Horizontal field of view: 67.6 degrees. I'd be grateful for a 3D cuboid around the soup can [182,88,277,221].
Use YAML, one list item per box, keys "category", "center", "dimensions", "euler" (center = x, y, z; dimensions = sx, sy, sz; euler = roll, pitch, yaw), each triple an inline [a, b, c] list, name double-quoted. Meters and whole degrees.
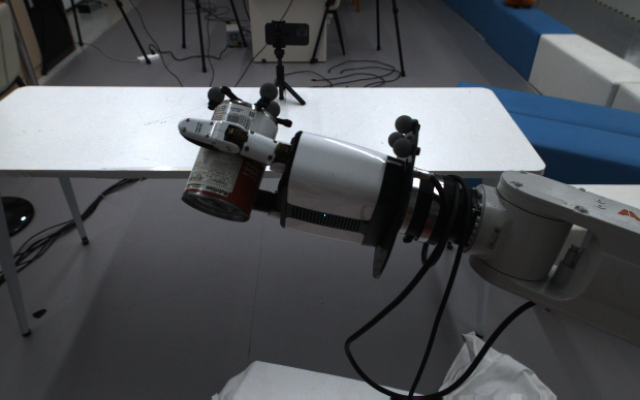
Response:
- category: "soup can"
  center: [-0.084, -0.037, 0.476]
  dimensions: [0.067, 0.067, 0.101]
  euler: [11, 72, 13]
